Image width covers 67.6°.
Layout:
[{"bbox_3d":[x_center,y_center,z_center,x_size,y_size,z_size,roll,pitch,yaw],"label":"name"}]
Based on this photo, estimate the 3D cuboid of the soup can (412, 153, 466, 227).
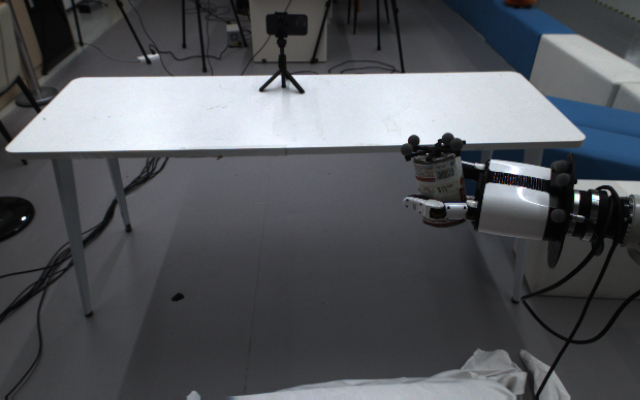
[{"bbox_3d":[0.176,-0.021,0.698,0.067,0.101,0.067,-13,20,5],"label":"soup can"}]
